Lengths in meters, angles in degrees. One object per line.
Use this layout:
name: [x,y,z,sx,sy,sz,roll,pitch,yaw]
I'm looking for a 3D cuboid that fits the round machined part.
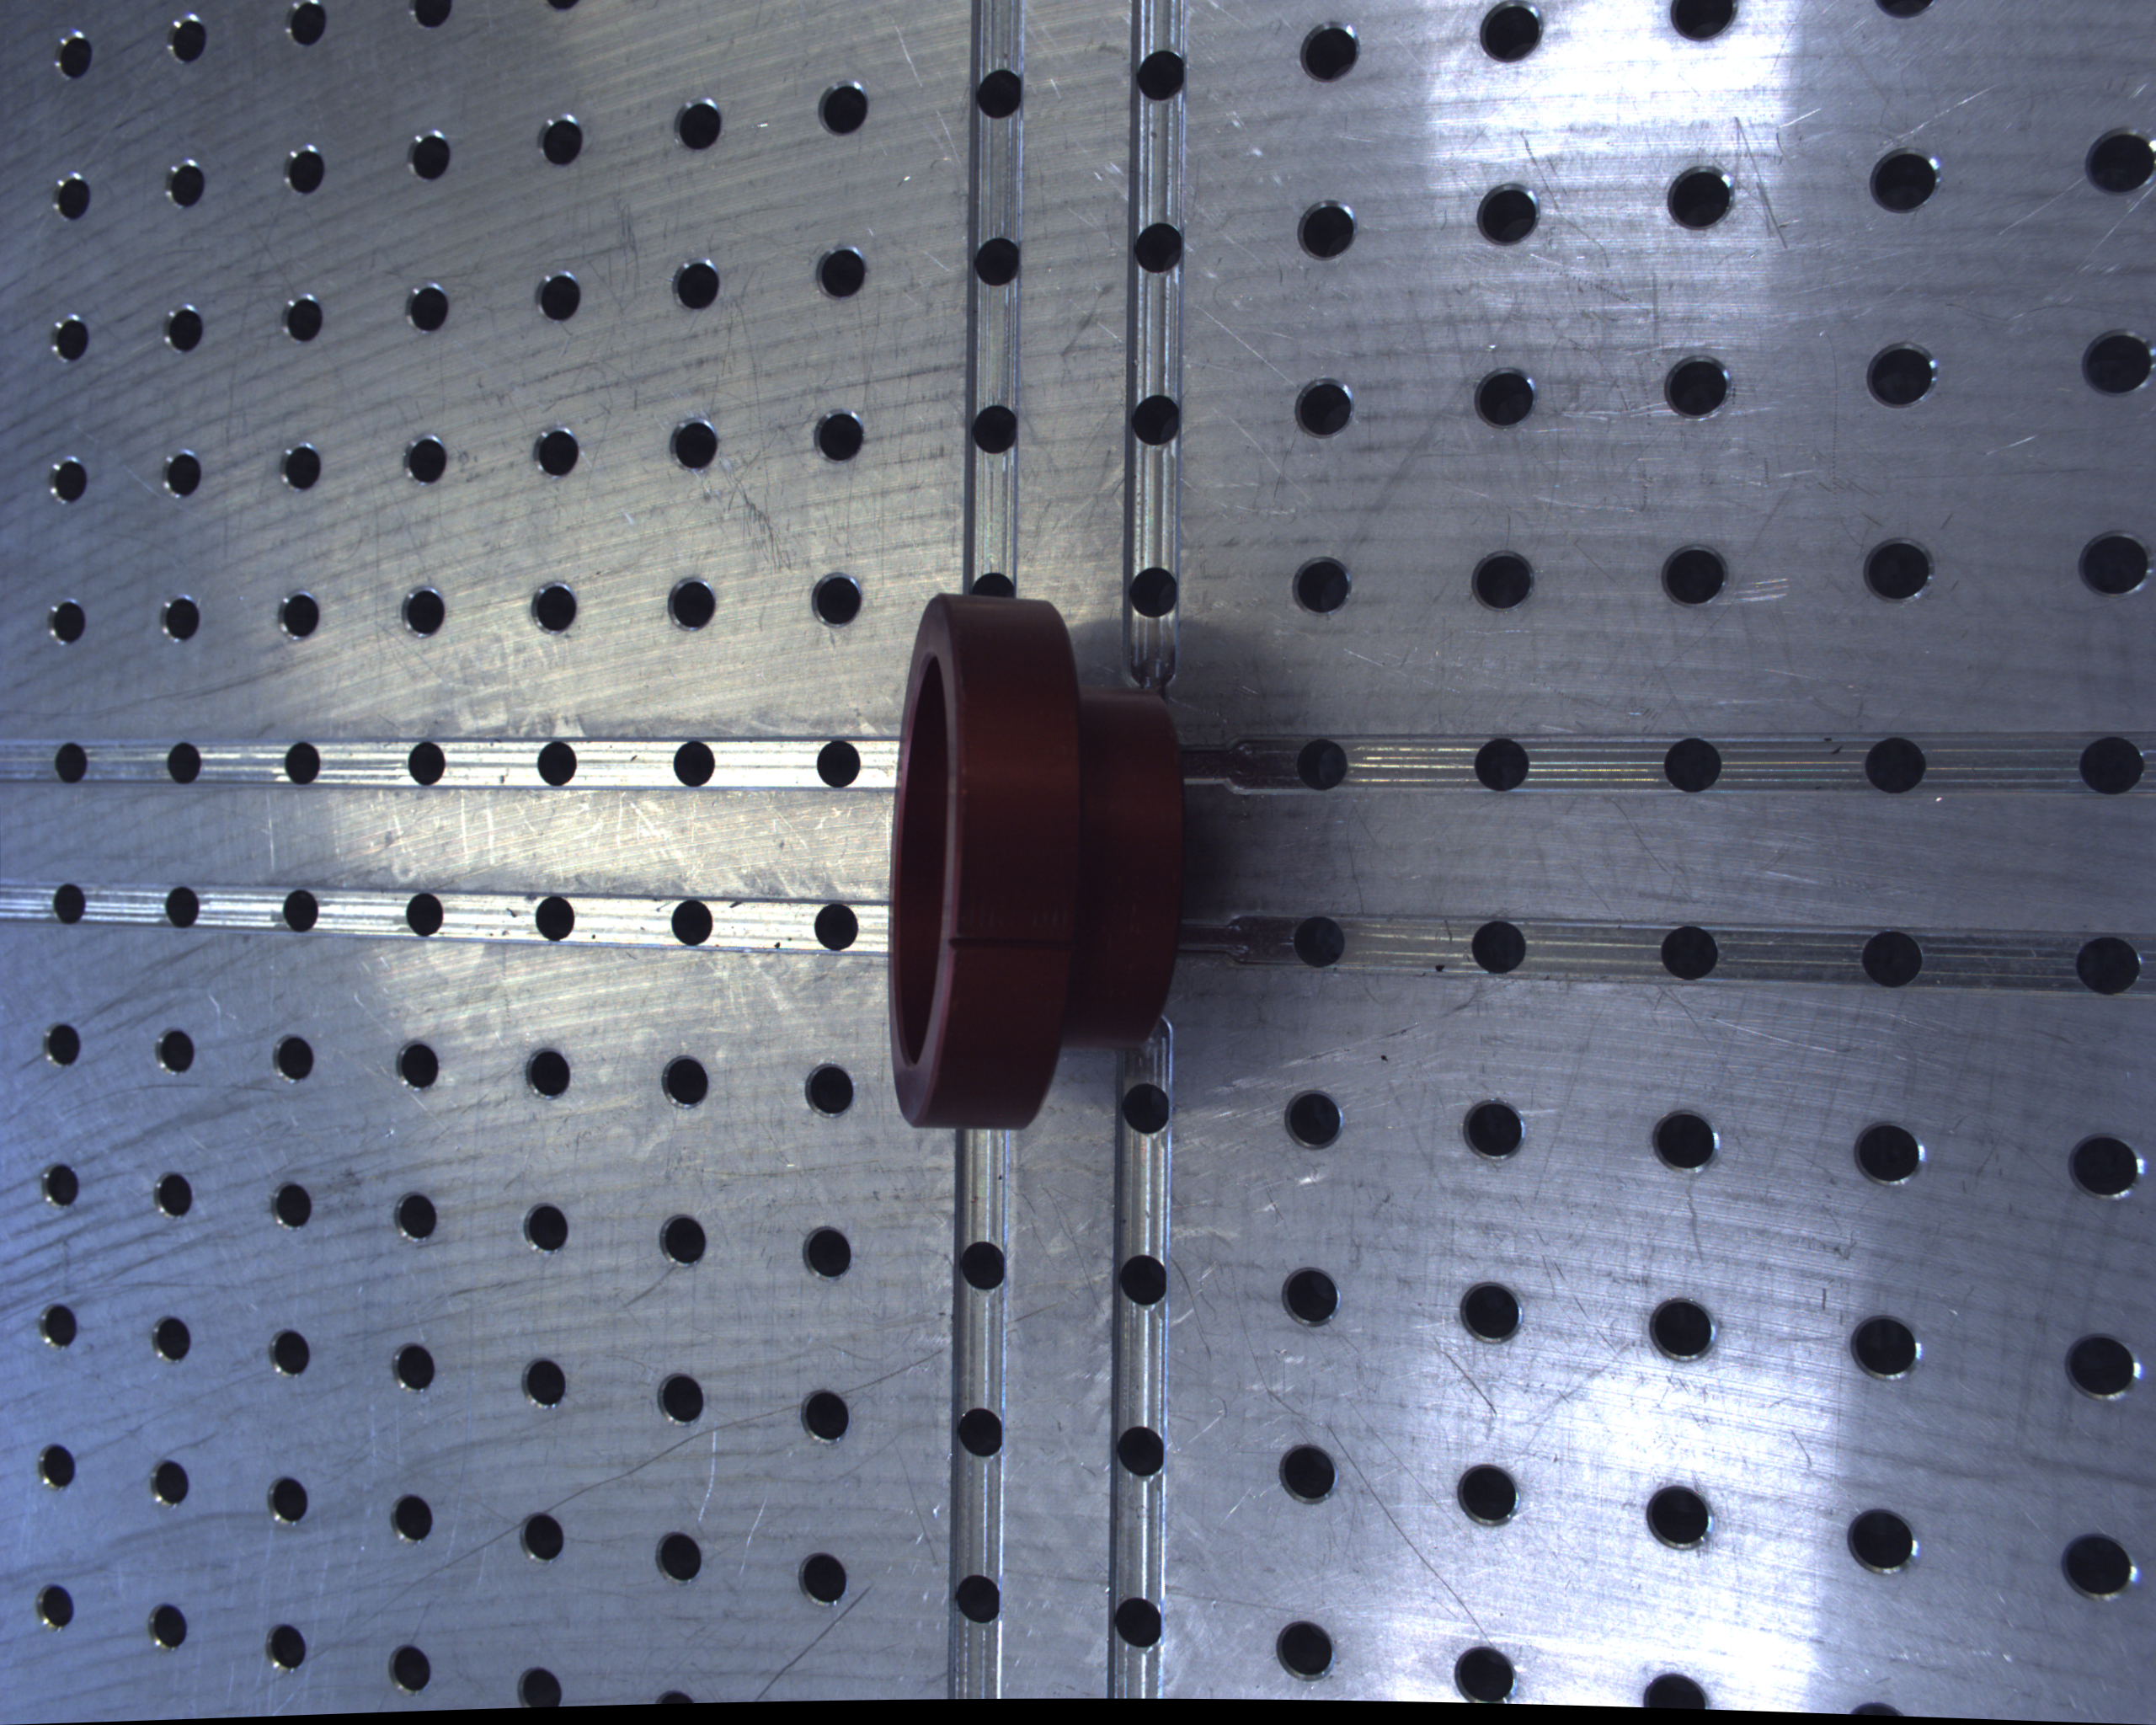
round machined part: [-0.008,0.000,0.387,0.042,0.098,0.097,3,91,-11]
